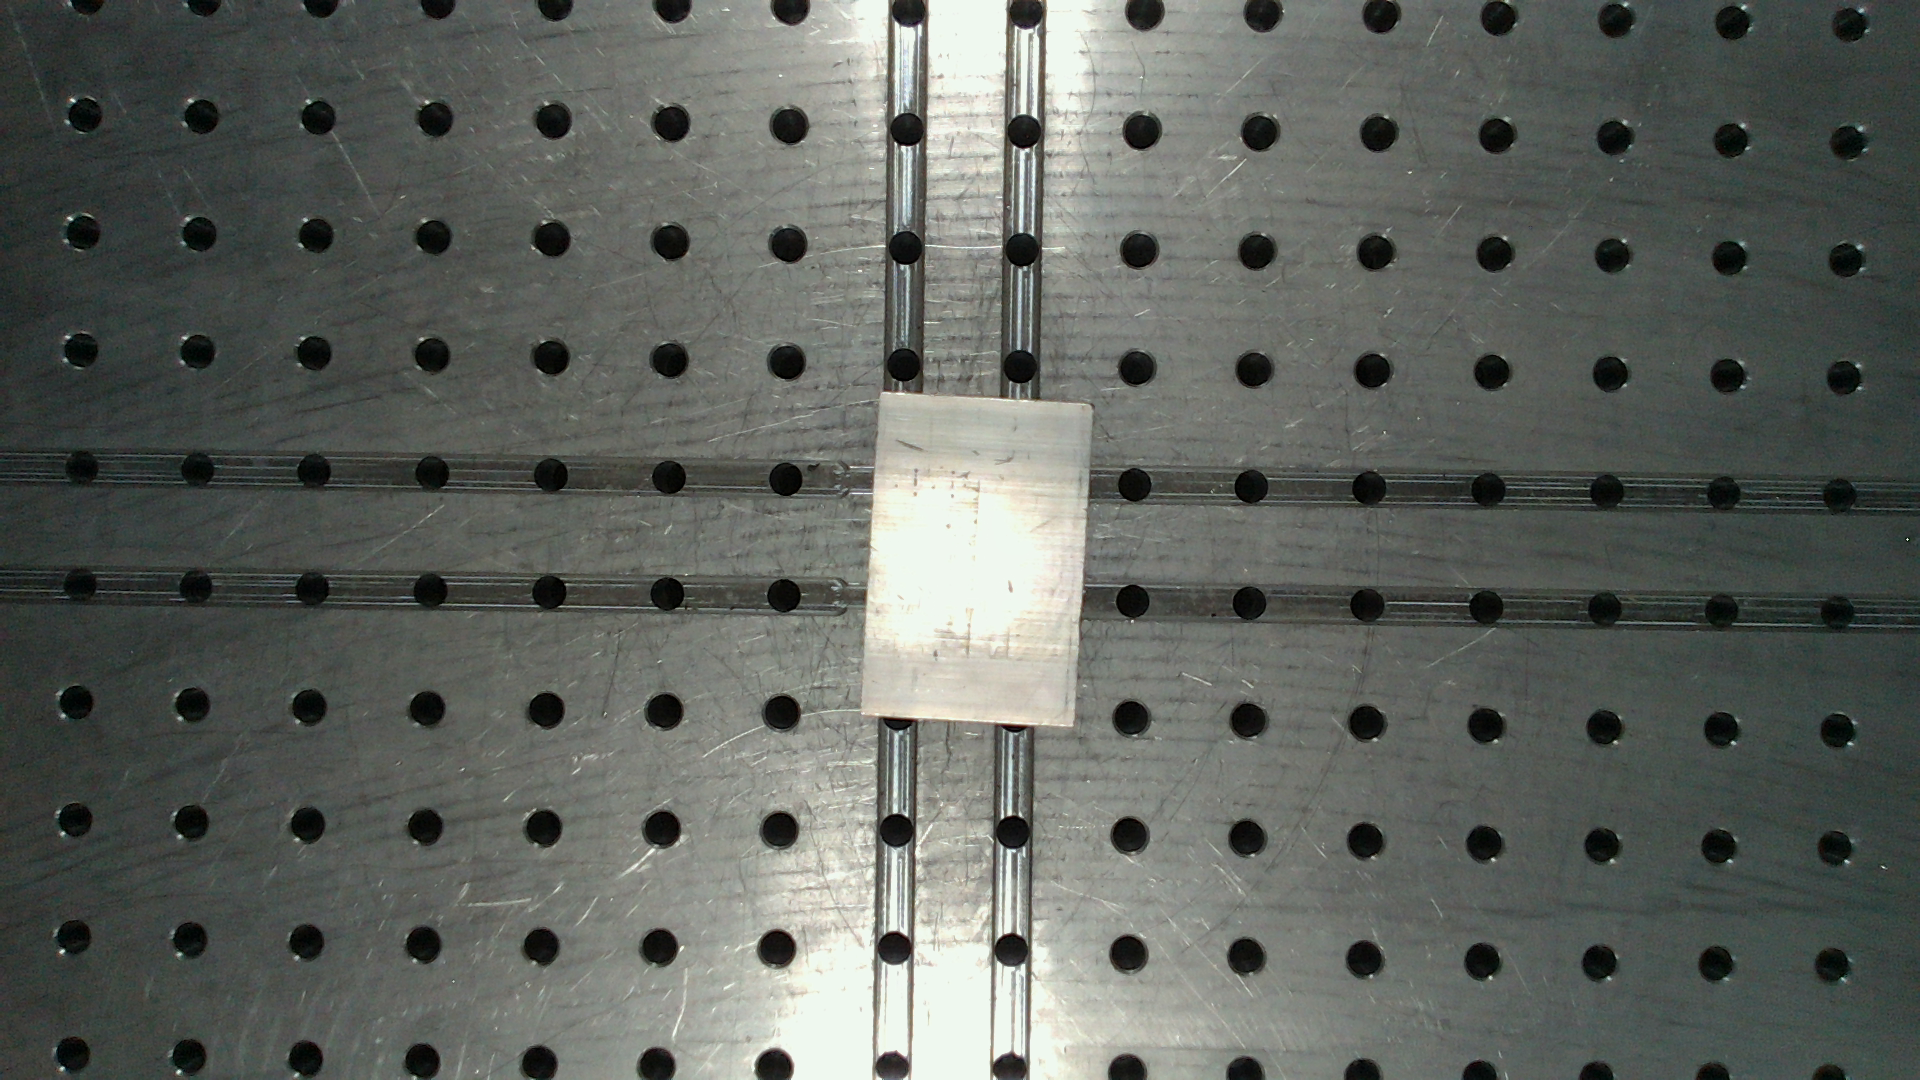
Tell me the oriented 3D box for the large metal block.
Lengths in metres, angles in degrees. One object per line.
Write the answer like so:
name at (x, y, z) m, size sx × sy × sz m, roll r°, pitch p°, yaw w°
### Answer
large metal block at (0.005, 0.005, 0.369) m, size 0.050 × 0.080 × 0.080 m, roll 3°, pitch 90°, yaw 0°
